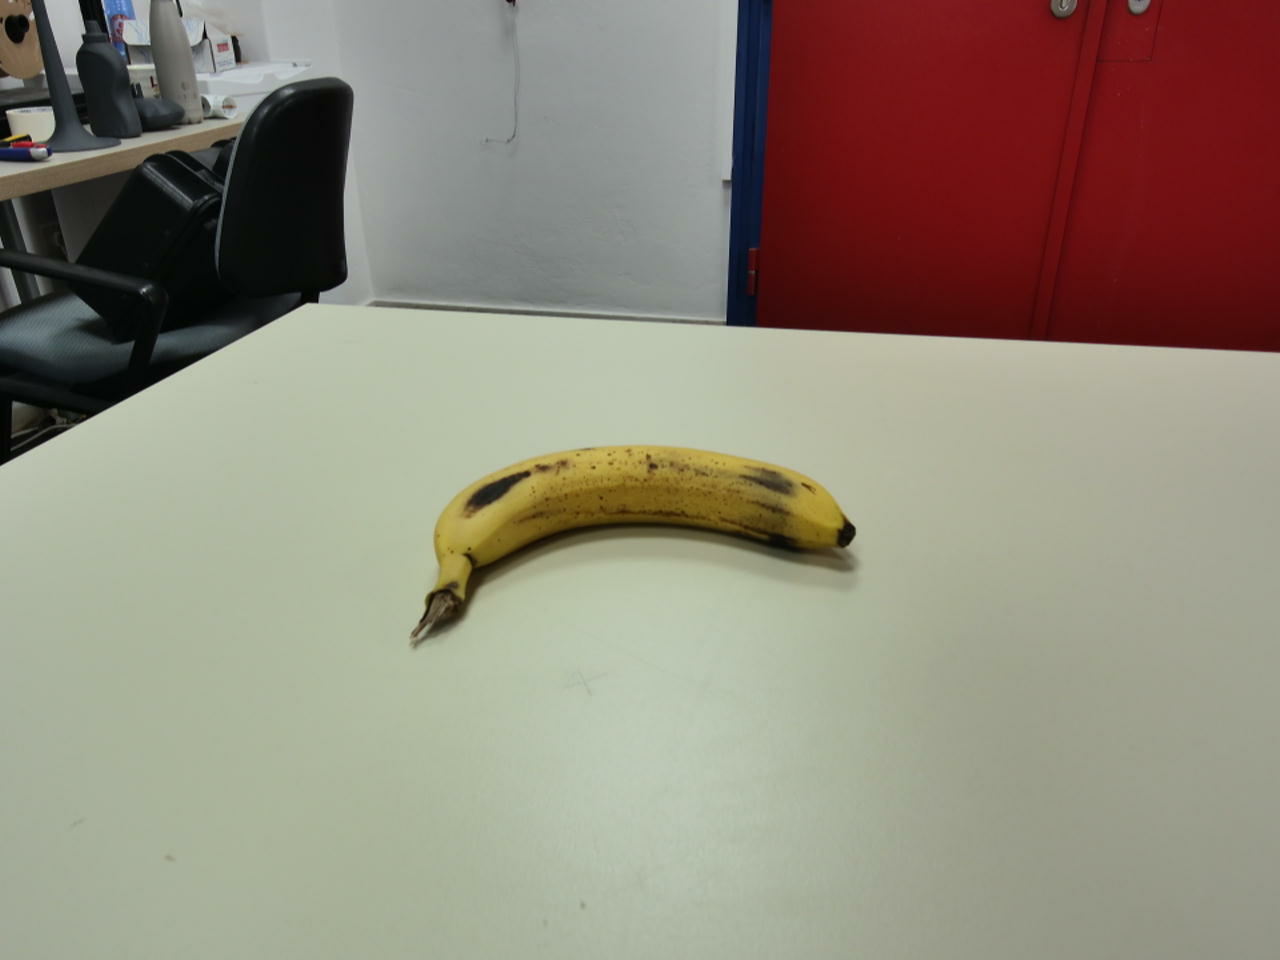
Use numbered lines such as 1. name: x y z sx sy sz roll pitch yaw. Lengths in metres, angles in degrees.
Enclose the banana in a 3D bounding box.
1. banana: -0.007 0.015 0.450 0.186 0.038 0.097 -6 25 -14
